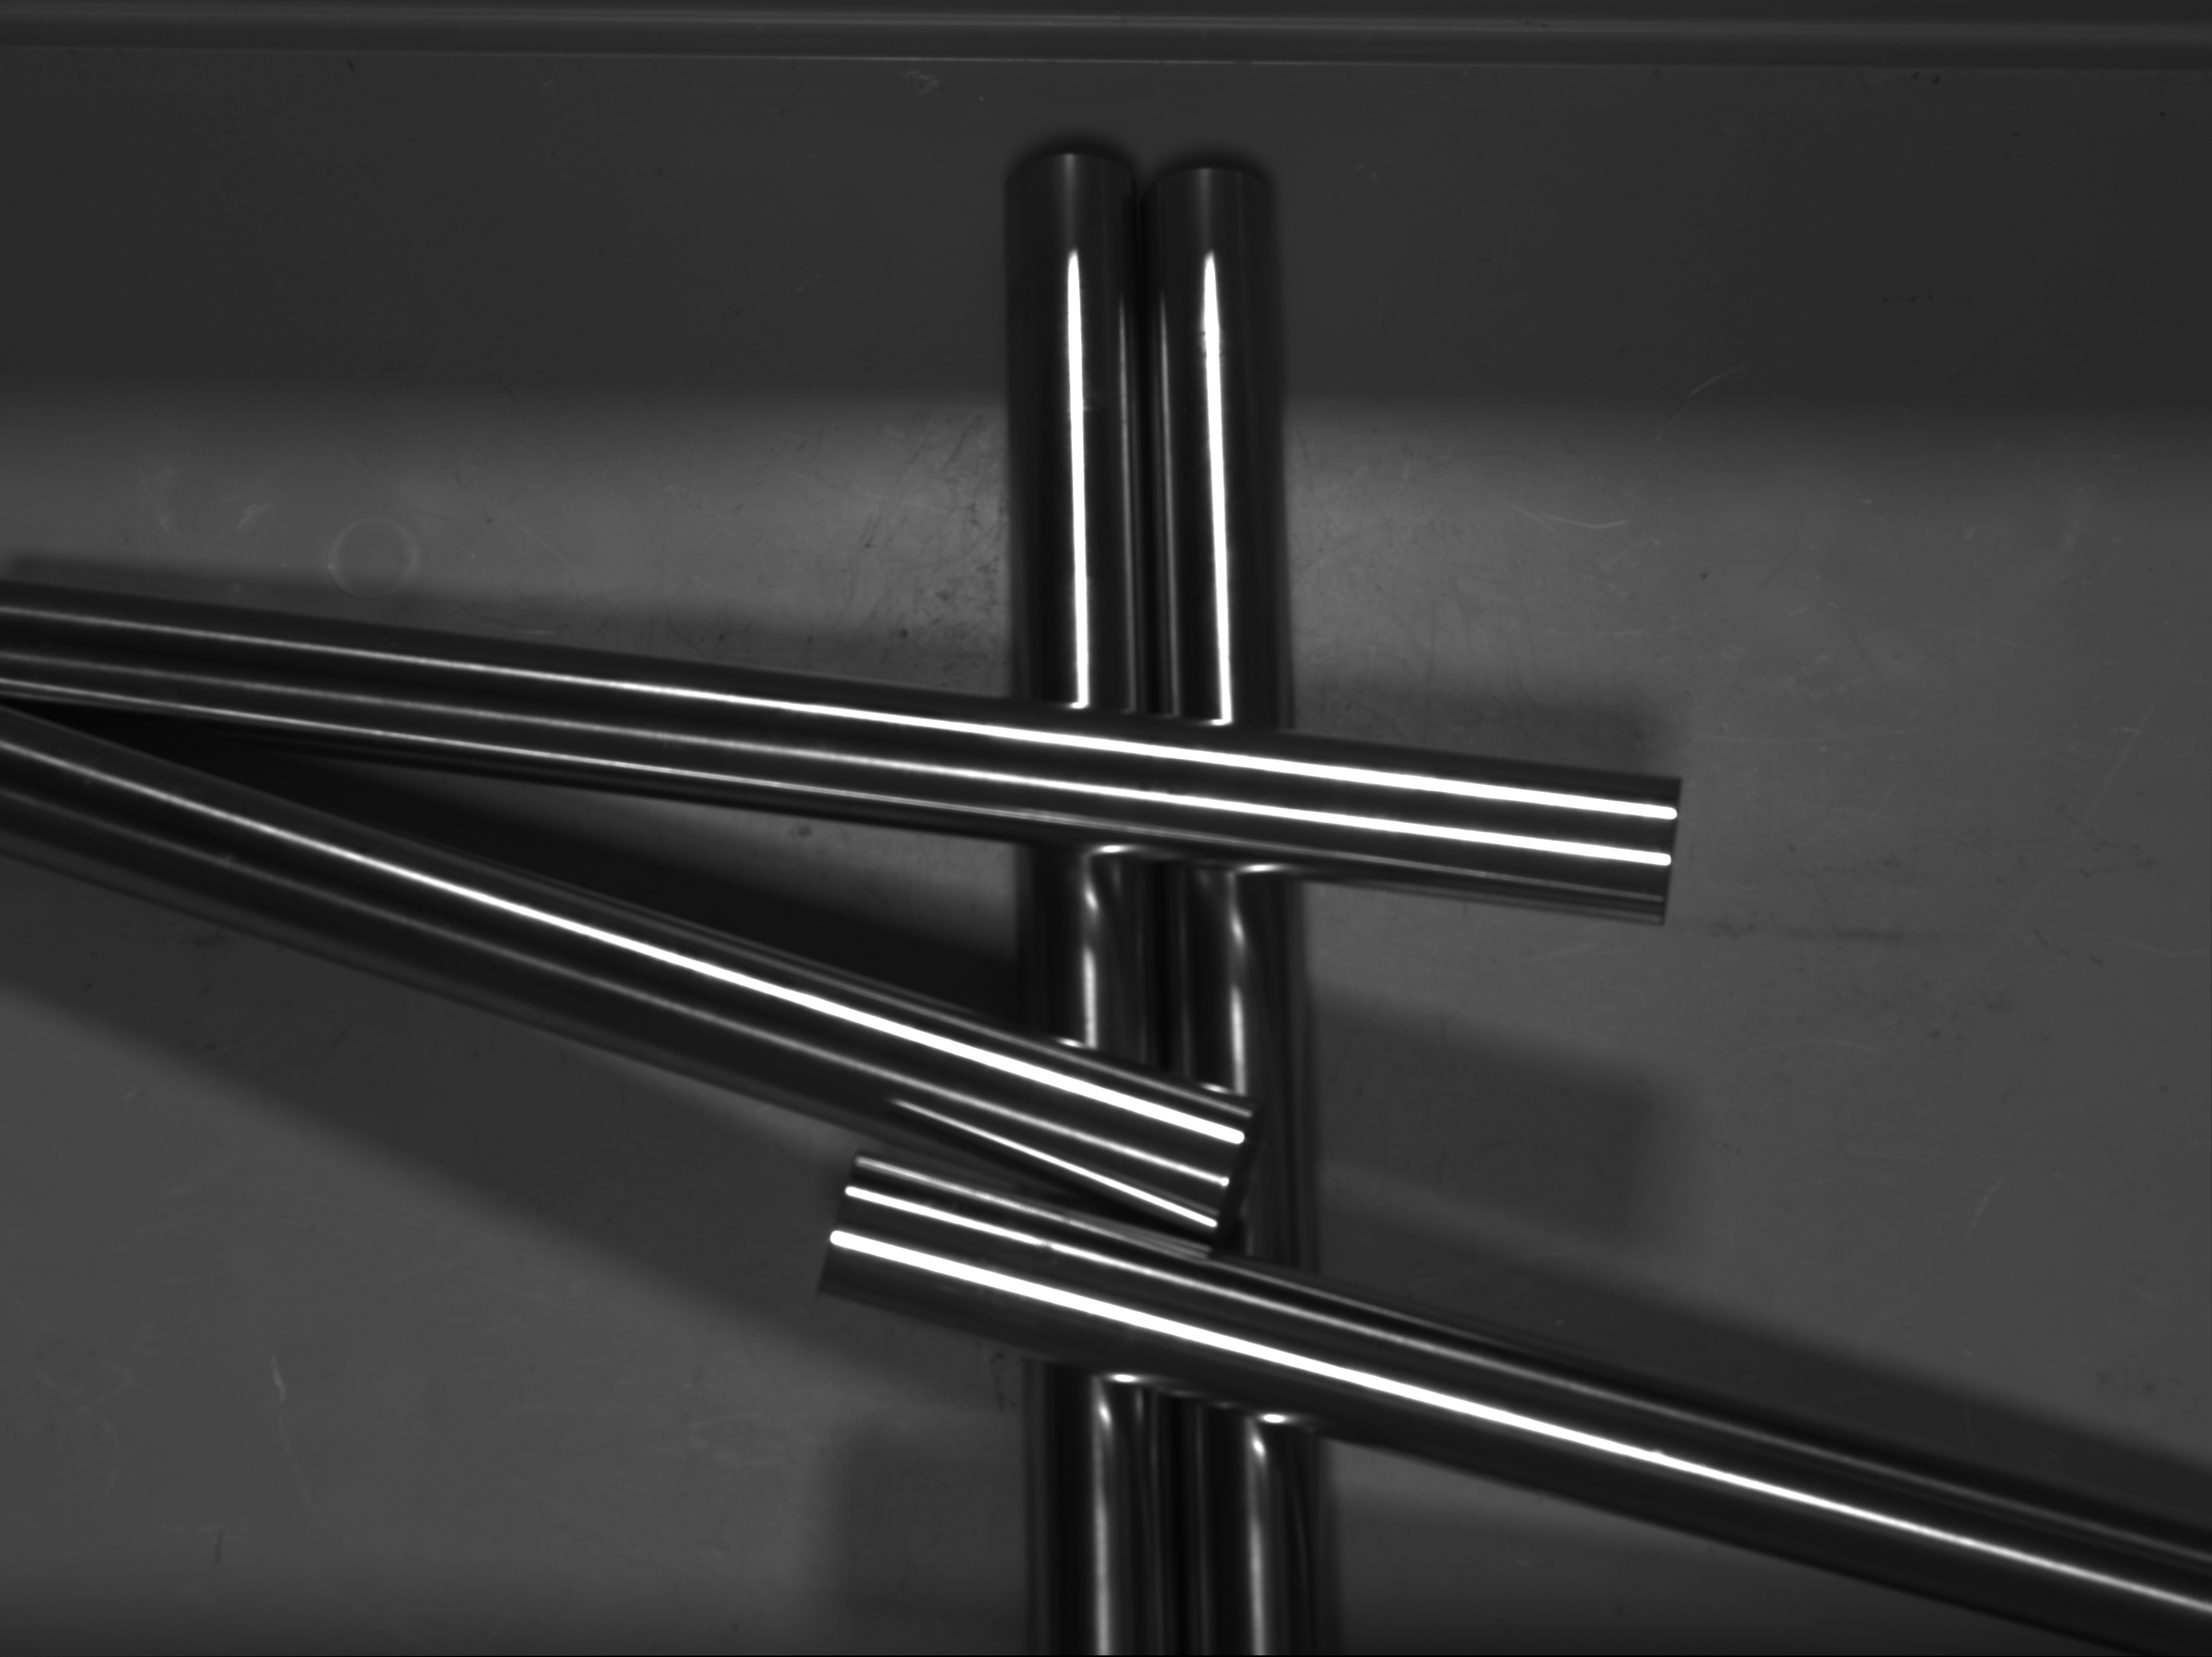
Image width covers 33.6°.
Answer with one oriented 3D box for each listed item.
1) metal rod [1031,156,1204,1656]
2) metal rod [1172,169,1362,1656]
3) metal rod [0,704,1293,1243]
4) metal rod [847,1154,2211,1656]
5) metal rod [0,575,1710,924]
[{"bbox_3d":[0.001,0.021,0.634,0.025,0.025,0.300,-1,70,0],"label":"metal rod"},{"bbox_3d":[0.027,0.024,0.633,0.025,0.025,0.300,-1,70,0],"label":"metal rod"},{"bbox_3d":[-0.114,0.015,0.625,0.300,0.025,0.025,17,71,12],"label":"metal rod"},{"bbox_3d":[0.107,0.102,0.588,0.300,0.025,0.025,15,70,-1],"label":"metal rod"},{"bbox_3d":[-0.049,-0.015,0.628,0.300,0.025,0.025,7,70,10],"label":"metal rod"}]
